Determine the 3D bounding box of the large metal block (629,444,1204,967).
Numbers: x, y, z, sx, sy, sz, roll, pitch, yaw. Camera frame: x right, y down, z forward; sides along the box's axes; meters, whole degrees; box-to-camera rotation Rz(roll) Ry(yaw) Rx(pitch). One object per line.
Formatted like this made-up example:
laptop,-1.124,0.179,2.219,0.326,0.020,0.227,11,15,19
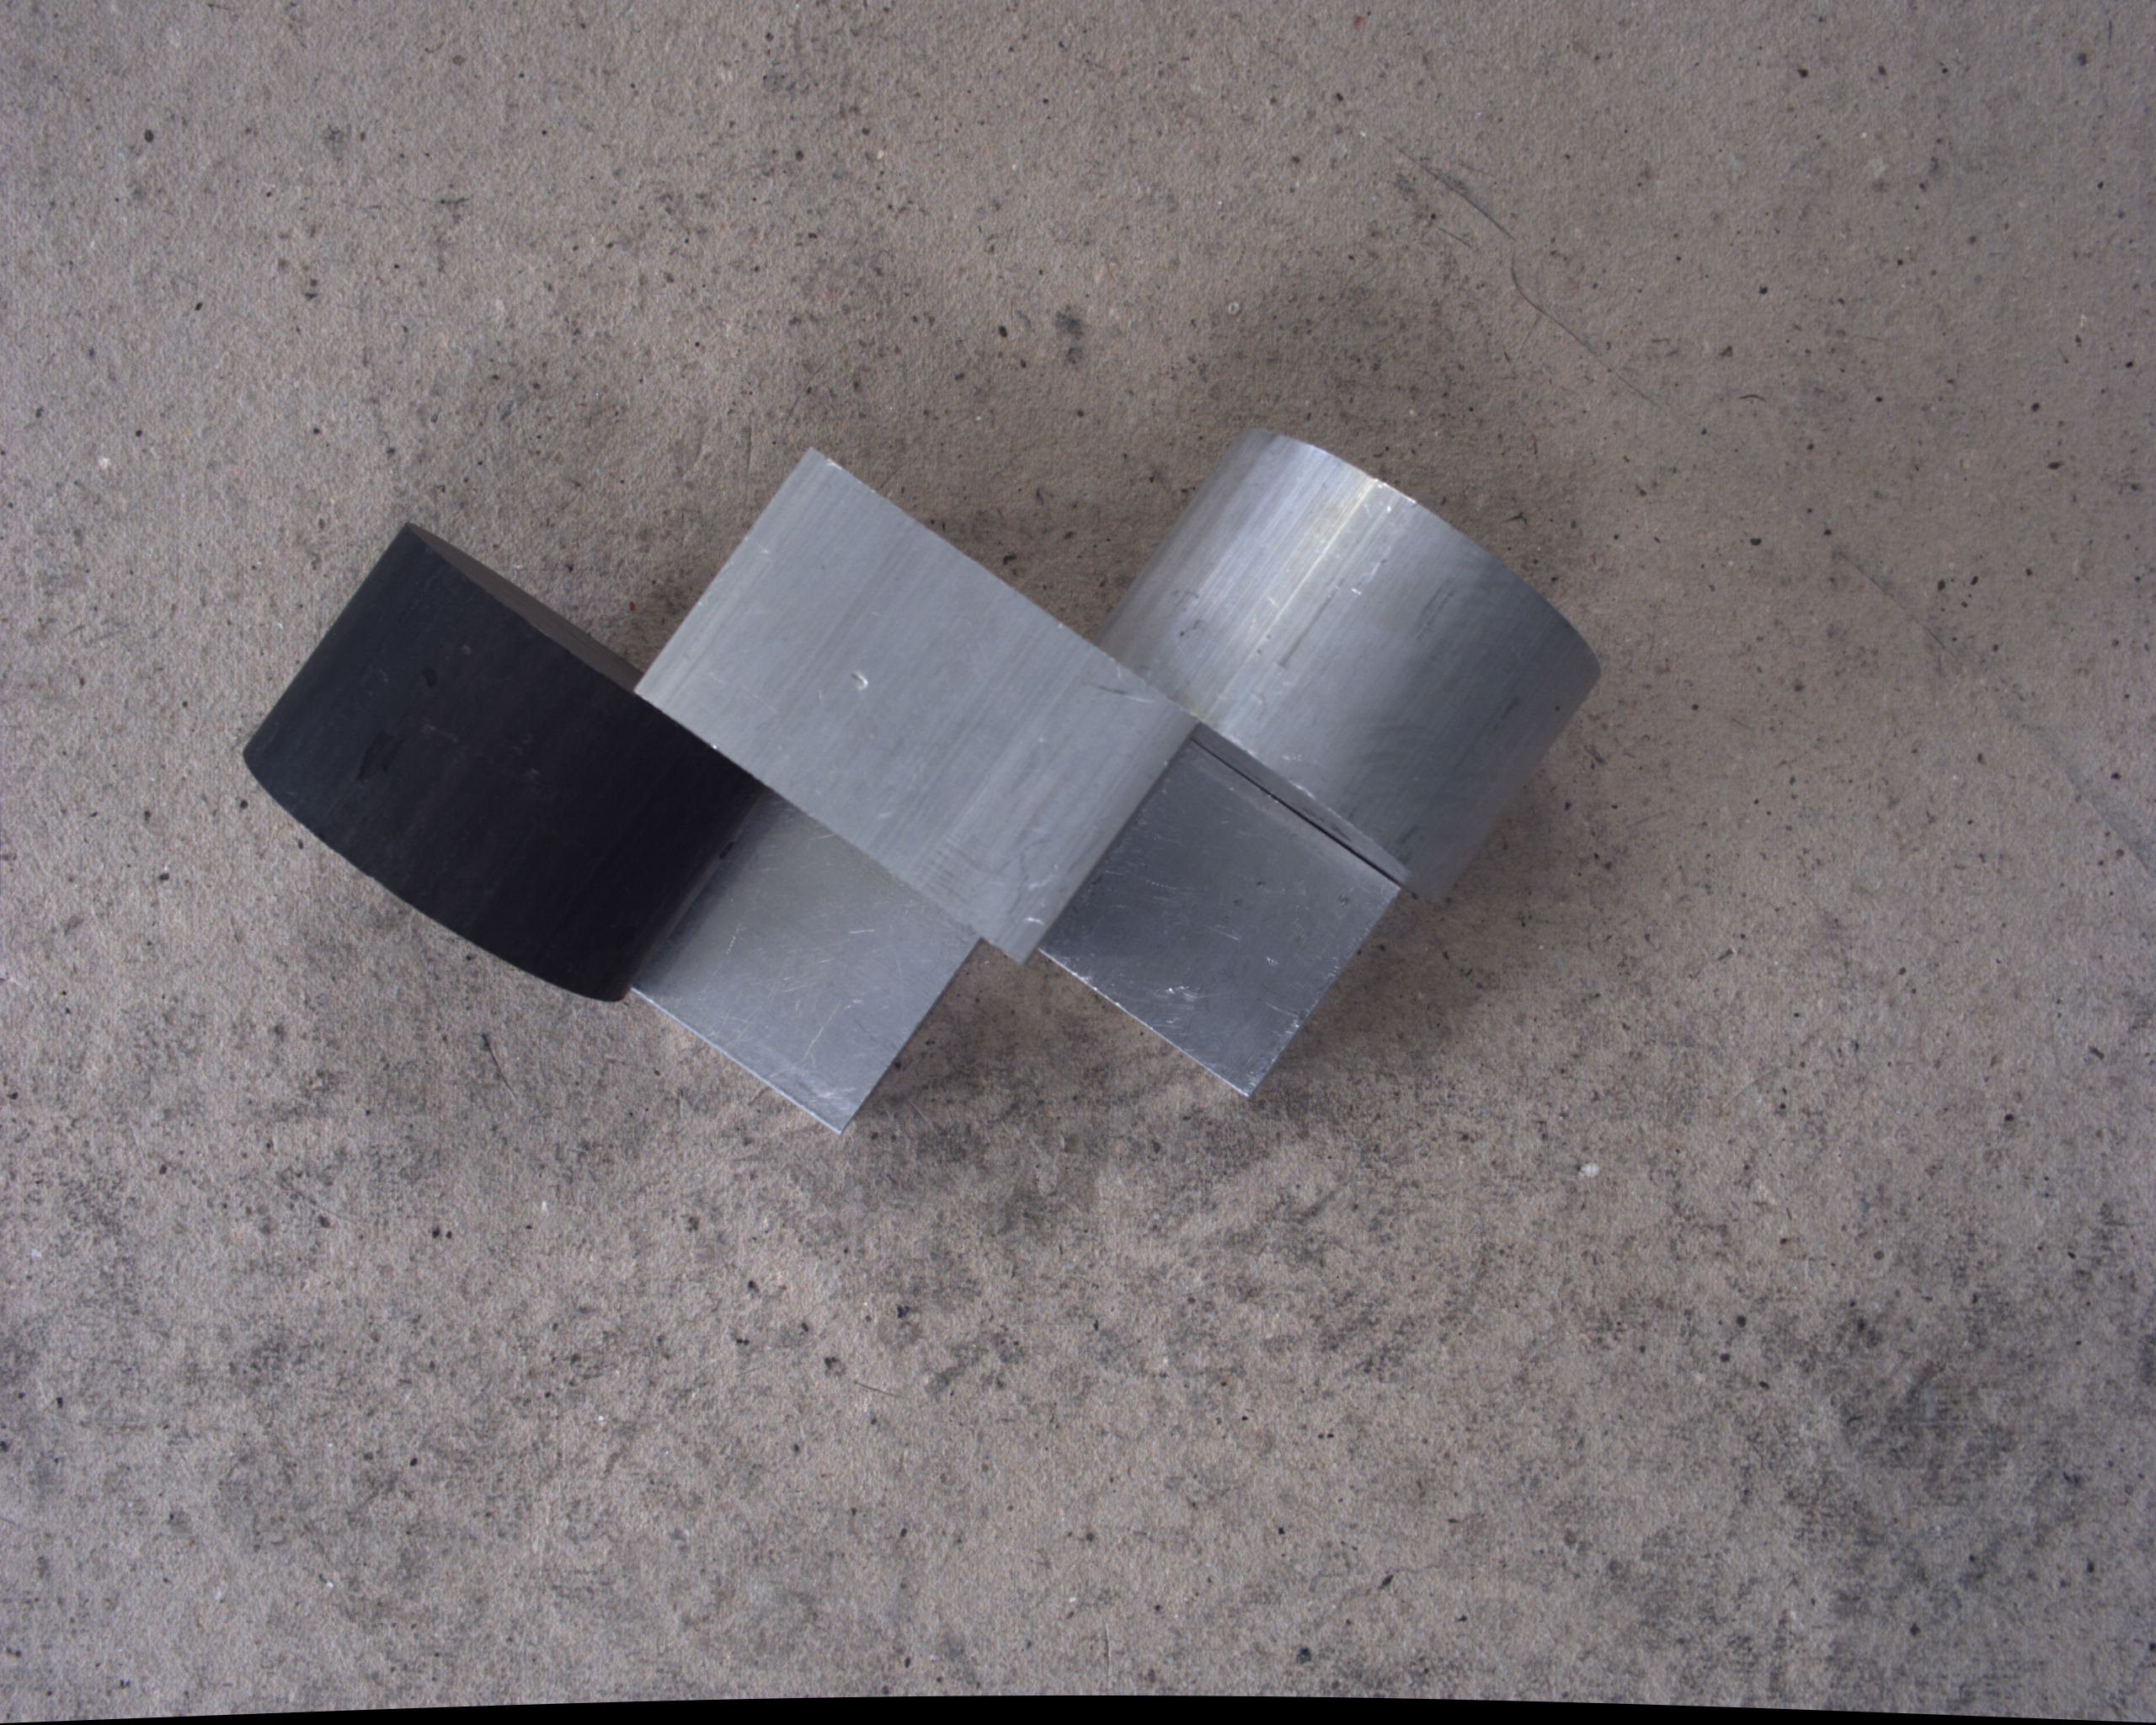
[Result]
large metal block,-0.027,-0.026,0.384,0.080,0.080,0.050,35,90,-1

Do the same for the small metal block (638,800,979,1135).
small metal block,-0.052,0.017,0.411,0.050,0.025,0.050,35,90,0

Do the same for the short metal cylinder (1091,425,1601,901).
short metal cylinder,0.048,-0.036,0.384,0.080,0.080,0.050,35,90,0

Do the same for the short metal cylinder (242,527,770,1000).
short metal cylinder,-0.102,-0.018,0.383,0.080,0.080,0.050,35,90,0

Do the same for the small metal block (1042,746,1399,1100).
small metal block,0.027,0.011,0.412,0.050,0.025,0.050,35,90,0
